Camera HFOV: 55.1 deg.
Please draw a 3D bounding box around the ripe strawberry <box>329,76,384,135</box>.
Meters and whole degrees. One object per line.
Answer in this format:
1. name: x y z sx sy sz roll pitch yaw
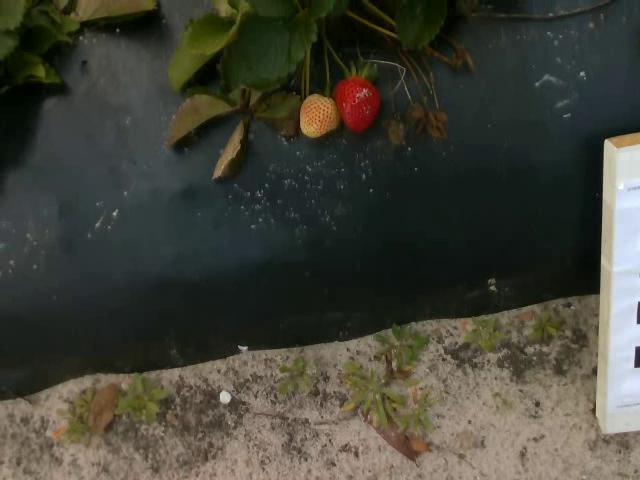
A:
1. ripe strawberry: 0.024 -0.090 0.405 0.034 0.042 0.033 19 -33 -7
